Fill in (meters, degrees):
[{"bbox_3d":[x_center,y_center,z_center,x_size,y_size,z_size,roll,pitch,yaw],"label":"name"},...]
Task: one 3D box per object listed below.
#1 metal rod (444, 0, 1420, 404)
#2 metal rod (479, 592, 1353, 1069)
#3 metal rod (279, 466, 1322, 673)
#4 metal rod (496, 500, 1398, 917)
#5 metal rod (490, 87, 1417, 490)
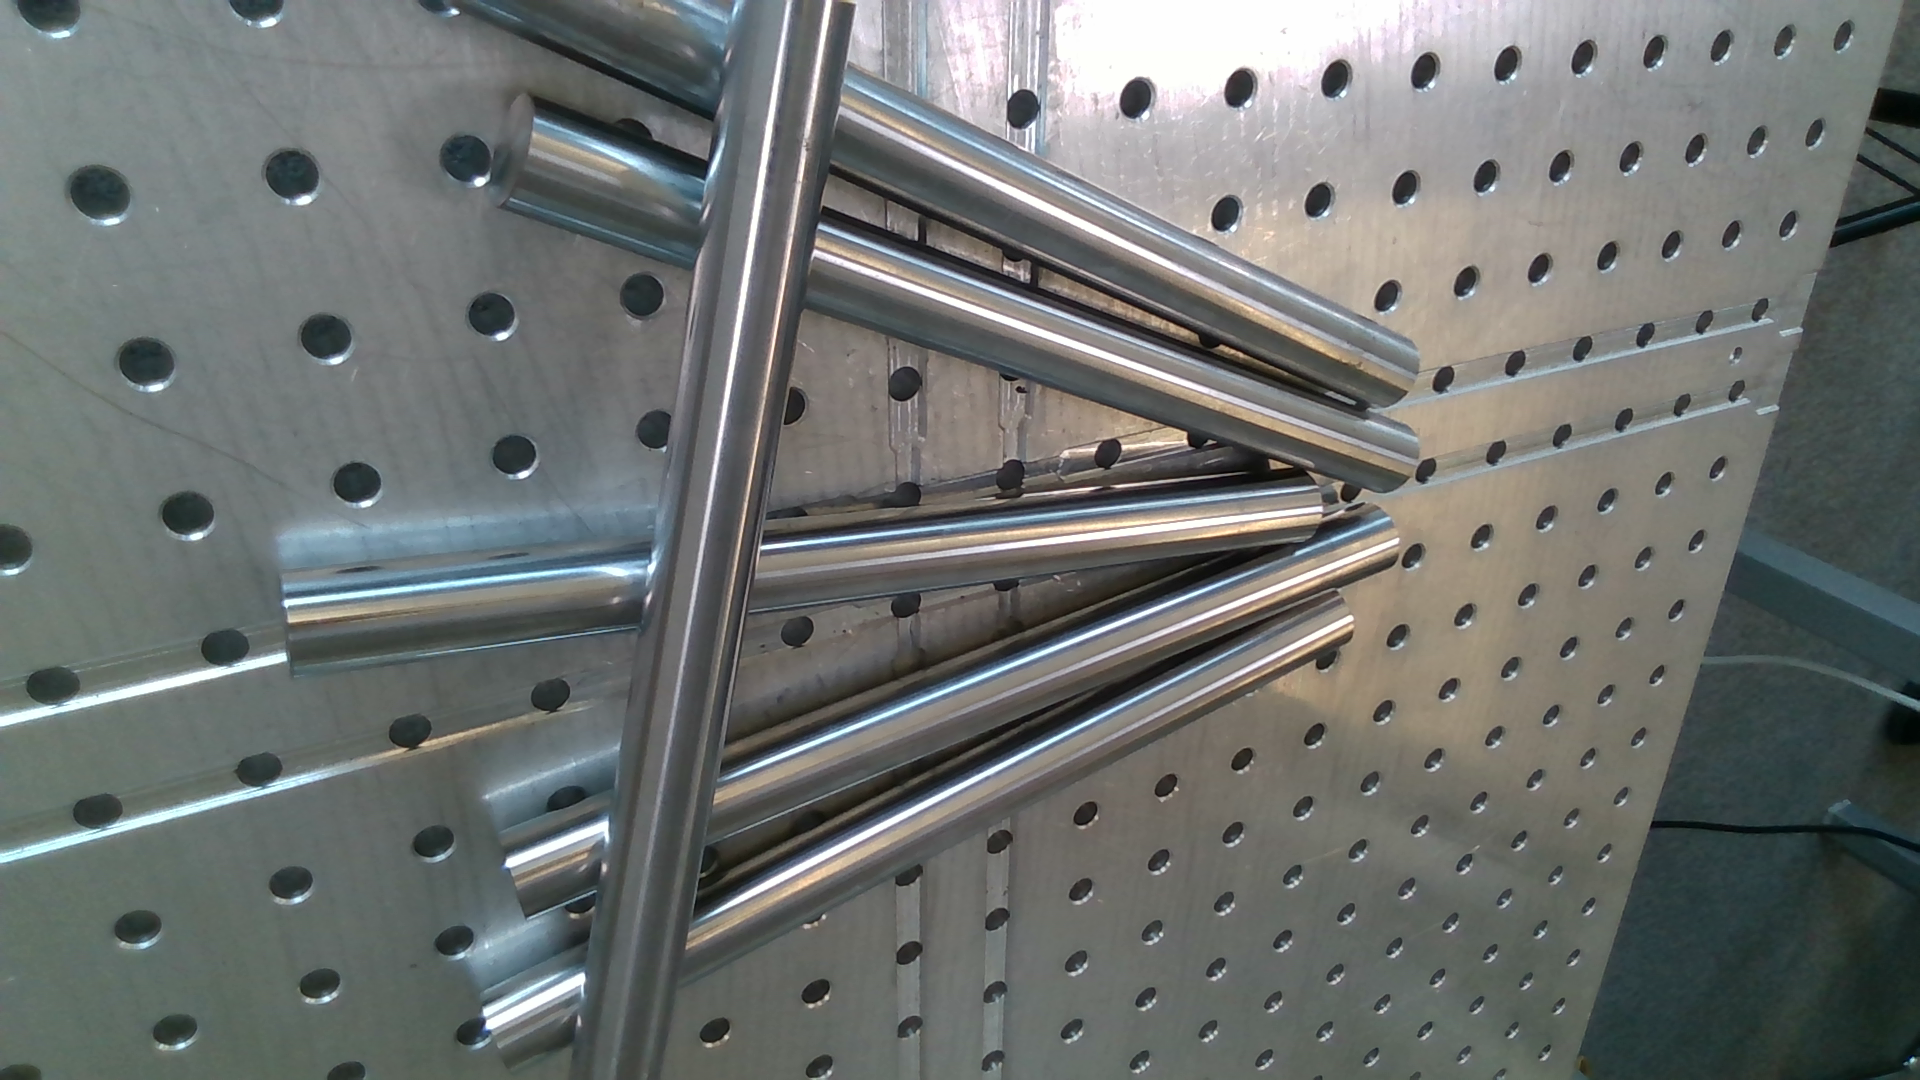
[{"bbox_3d":[0.021,-0.087,0.357,0.300,0.025,0.025,15,106,-36],"label":"metal rod"},{"bbox_3d":[0.000,0.081,0.436,0.300,0.025,0.025,-23,125,-19],"label":"metal rod"},{"bbox_3d":[-0.020,0.002,0.381,0.300,0.025,0.025,-7,118,-29],"label":"metal rod"},{"bbox_3d":[0.012,0.043,0.423,0.300,0.025,0.025,-19,123,-22],"label":"metal rod"},{"bbox_3d":[0.025,-0.056,0.377,0.300,0.025,0.025,13,108,-36],"label":"metal rod"}]
